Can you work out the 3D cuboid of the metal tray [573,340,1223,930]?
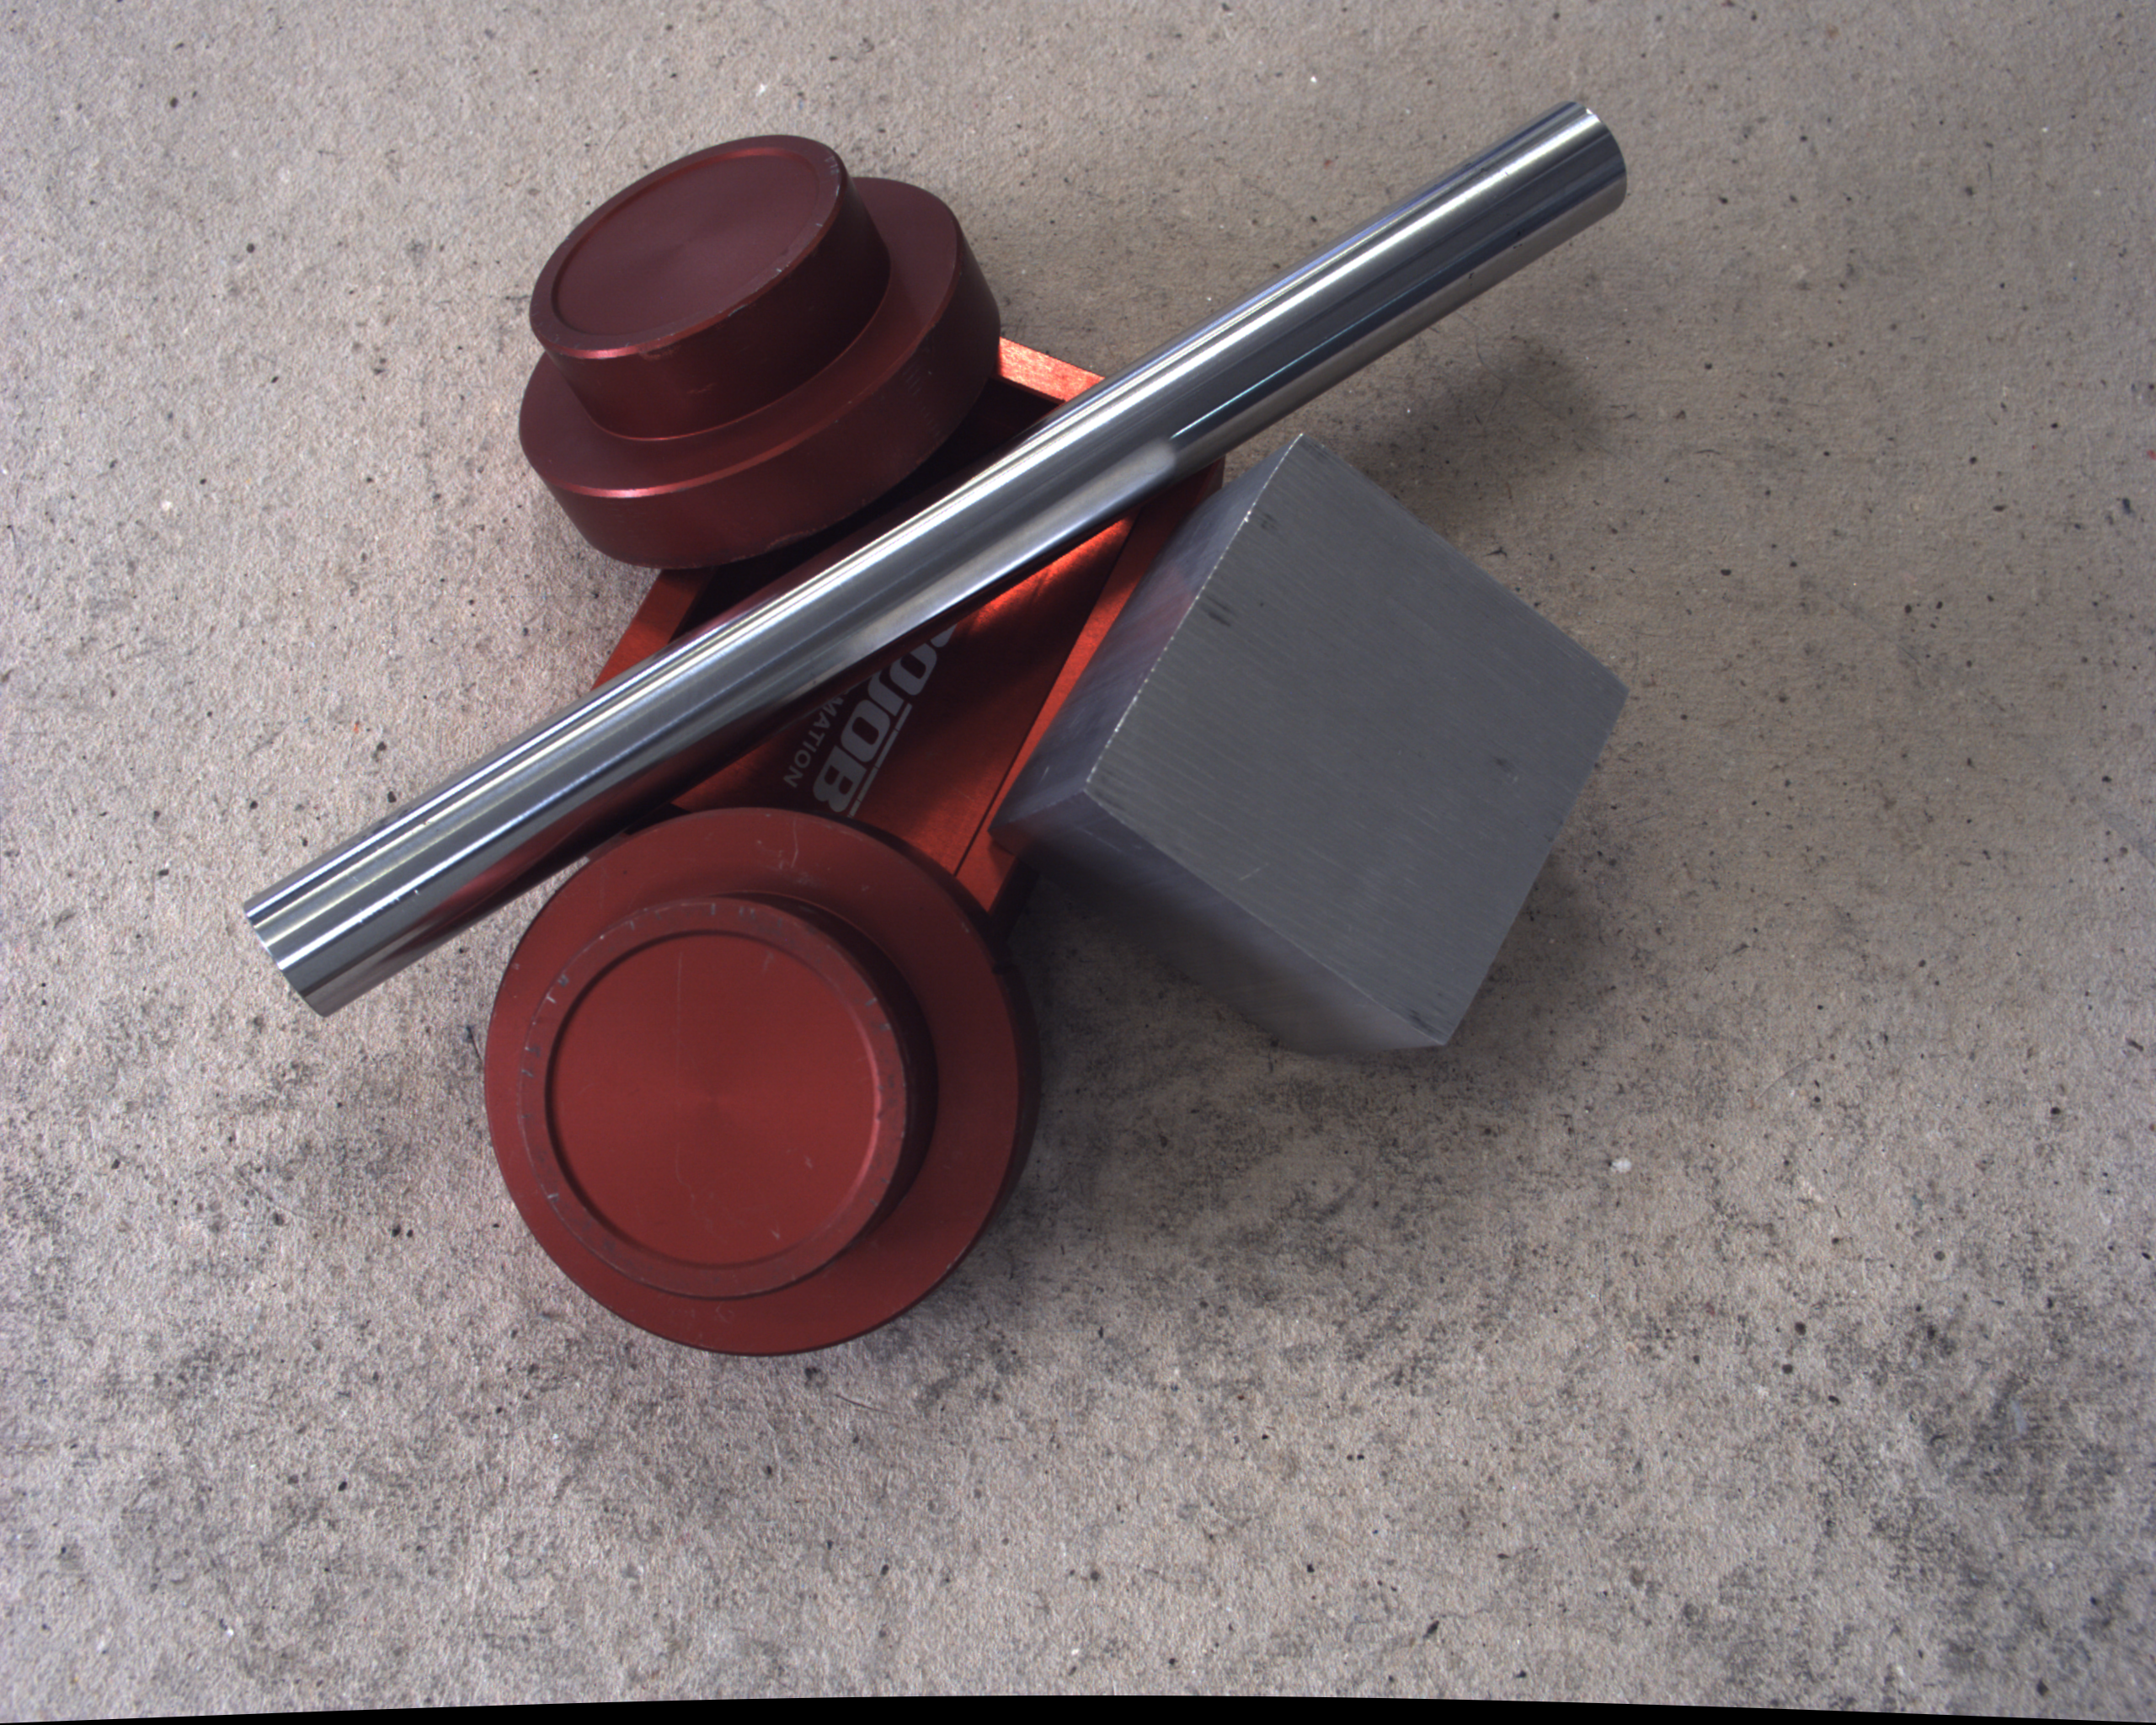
[{"bbox_3d":[-0.036,-0.046,0.423,0.090,0.030,0.130,23,71,8],"label":"metal tray"}]

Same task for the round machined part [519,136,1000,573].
[{"bbox_3d":[-0.069,-0.107,0.418,0.098,0.042,0.098,-13,47,15],"label":"round machined part"}]

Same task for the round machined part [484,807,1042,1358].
[{"bbox_3d":[-0.058,0.039,0.367,0.099,0.042,0.097,0,90,7],"label":"round machined part"}]

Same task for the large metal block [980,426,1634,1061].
[{"bbox_3d":[0.042,-0.019,0.388,0.080,0.050,0.080,35,71,-14],"label":"large metal block"}]

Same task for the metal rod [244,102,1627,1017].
[{"bbox_3d":[-0.018,-0.064,0.402,0.301,0.025,0.025,-34,74,-12],"label":"metal rod"}]
